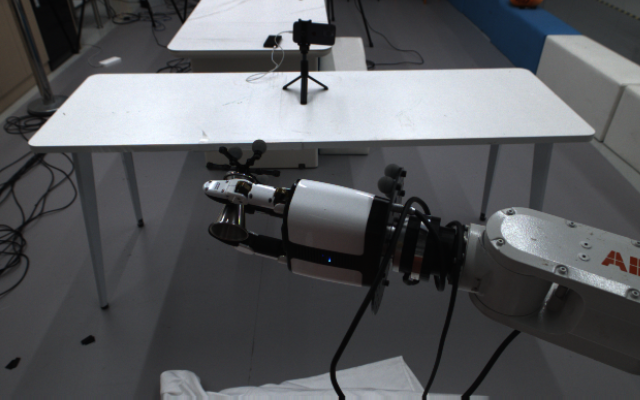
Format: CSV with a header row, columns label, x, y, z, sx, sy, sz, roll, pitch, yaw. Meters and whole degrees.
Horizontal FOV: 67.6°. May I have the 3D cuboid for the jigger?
label,x,y,z,sx,sy,sz,roll,pitch,yaw
jigger,-0.101,0.006,0.557,0.043,0.043,0.071,6,60,6
